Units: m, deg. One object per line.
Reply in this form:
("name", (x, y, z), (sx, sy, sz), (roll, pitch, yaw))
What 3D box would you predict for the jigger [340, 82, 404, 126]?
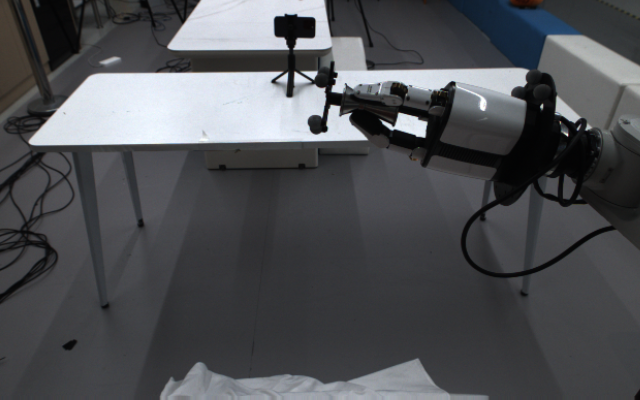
("jigger", (0.067, -0.119, 0.588), (0.071, 0.043, 0.043), (9, 35, 2))
